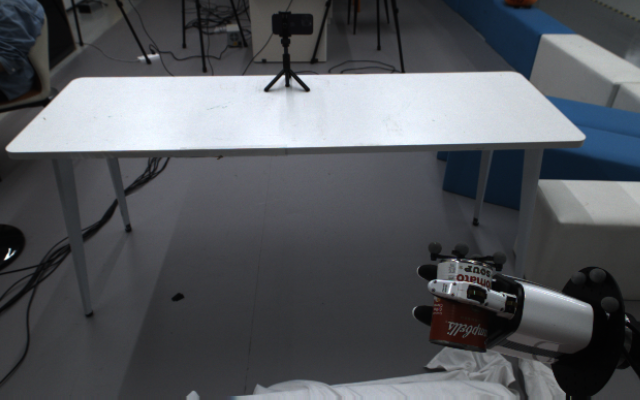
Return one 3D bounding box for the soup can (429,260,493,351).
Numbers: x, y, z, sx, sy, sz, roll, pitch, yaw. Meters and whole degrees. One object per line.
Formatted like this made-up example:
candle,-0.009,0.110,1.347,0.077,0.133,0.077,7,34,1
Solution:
soup can,0.175,0.128,0.591,0.067,0.067,0.101,8,72,9
